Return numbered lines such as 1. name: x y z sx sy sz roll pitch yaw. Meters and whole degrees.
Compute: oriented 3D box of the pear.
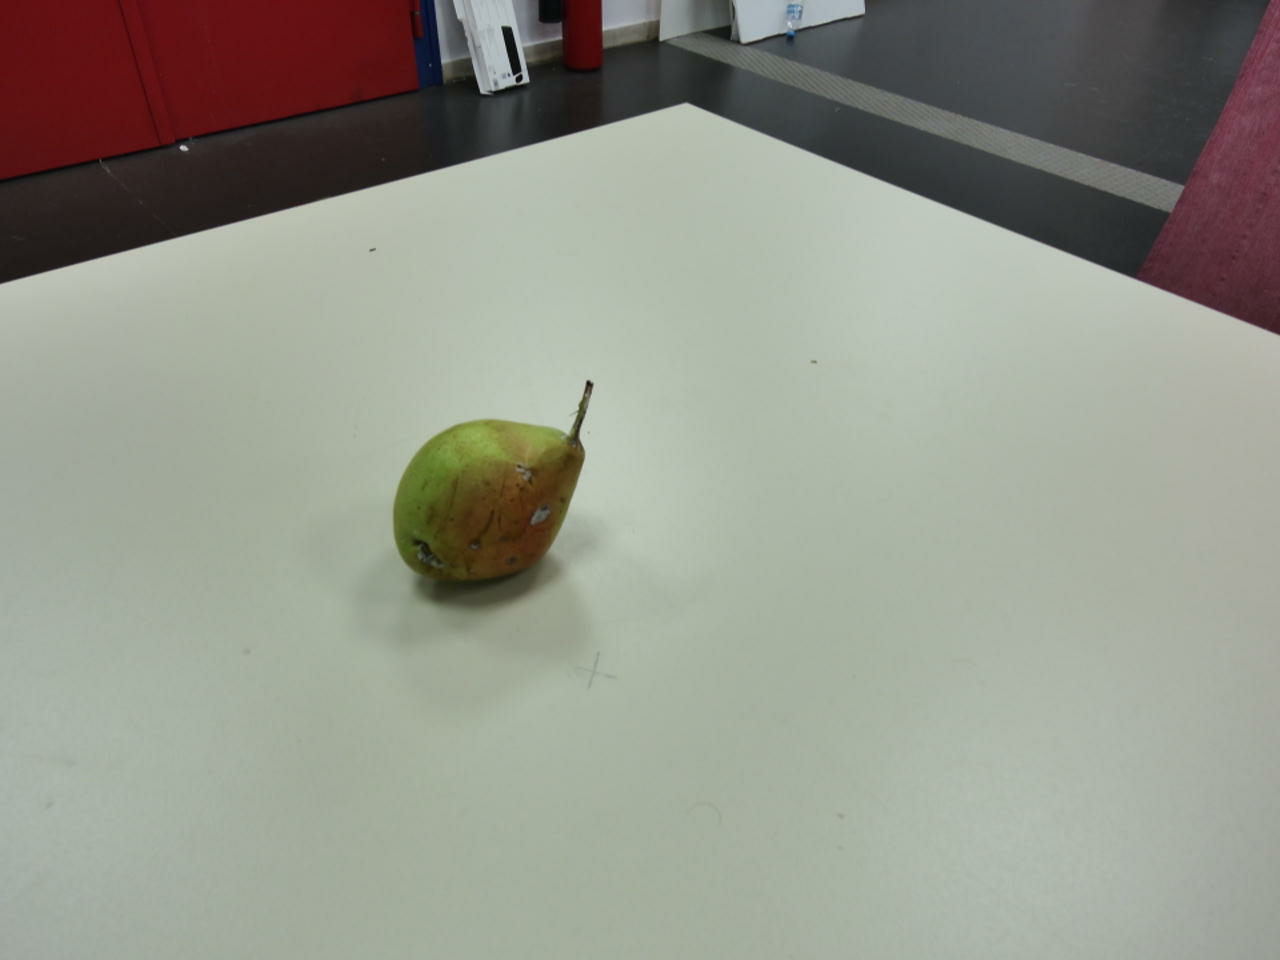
1. pear: -0.059 0.005 0.387 0.070 0.069 0.068 7 37 9
